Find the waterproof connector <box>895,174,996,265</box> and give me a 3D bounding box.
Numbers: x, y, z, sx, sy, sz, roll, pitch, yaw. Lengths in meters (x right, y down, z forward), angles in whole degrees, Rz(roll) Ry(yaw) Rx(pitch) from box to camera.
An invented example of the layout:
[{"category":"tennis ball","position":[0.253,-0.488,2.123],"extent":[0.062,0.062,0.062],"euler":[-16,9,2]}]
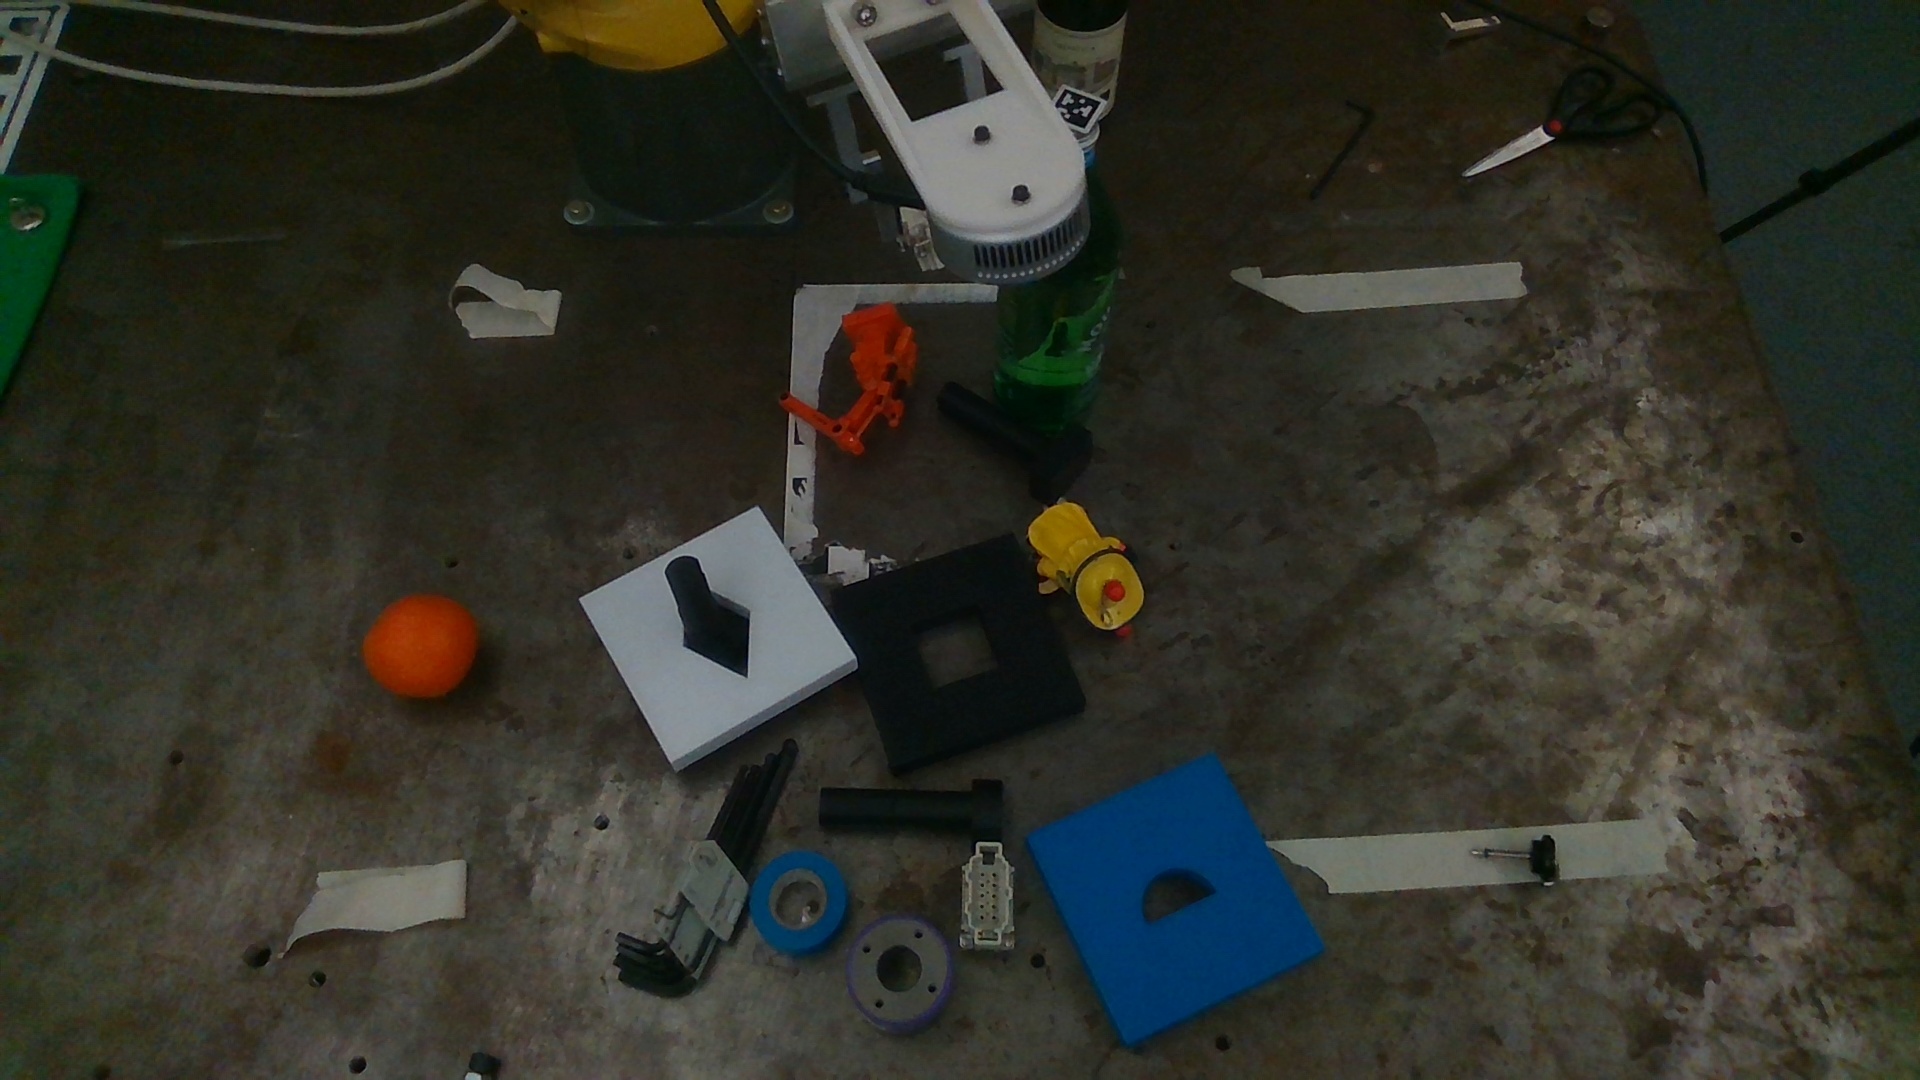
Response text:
[{"category":"waterproof connector","position":[-0.008,-0.163,0.710],"extent":[0.036,0.069,0.038],"euler":[-24,107,-8]}]
